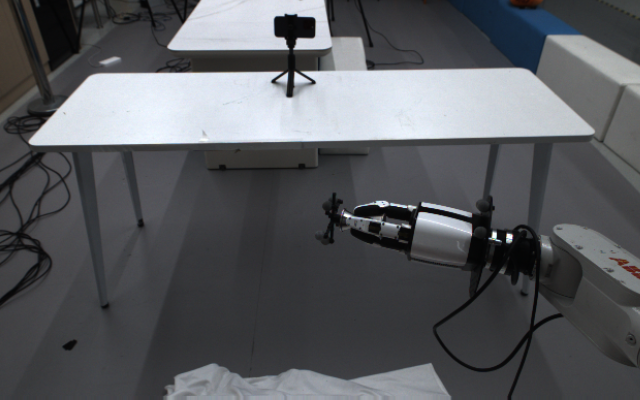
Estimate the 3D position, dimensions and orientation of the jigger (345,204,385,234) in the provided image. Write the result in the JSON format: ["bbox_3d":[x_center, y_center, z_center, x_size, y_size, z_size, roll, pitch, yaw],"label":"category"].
[{"bbox_3d":[0.076,0.033,0.784,0.071,0.043,0.043,8,35,15],"label":"jigger"}]
